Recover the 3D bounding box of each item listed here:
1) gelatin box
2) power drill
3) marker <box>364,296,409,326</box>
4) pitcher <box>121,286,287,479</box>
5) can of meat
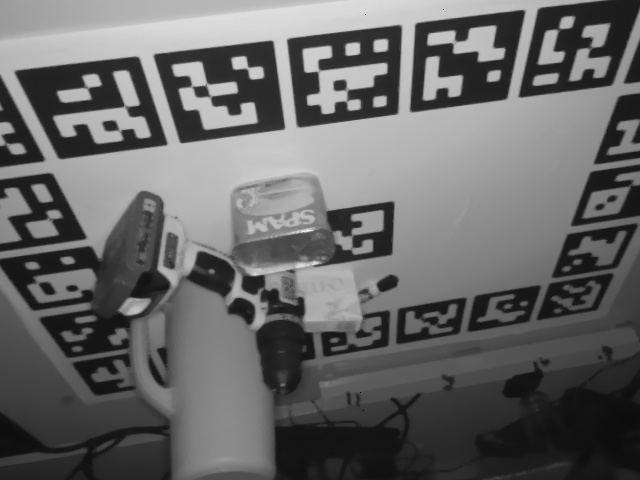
[{"bbox_3d":[0.008,0.091,0.850,0.090,0.073,0.030,1,132,-11],"label":"gelatin box"},{"bbox_3d":[-0.085,0.076,0.733,0.189,0.186,0.056,23,125,-23],"label":"power drill"},{"bbox_3d":[0.061,0.104,0.910,0.120,0.020,0.020,-27,134,14],"label":"marker"},{"bbox_3d":[-0.125,0.169,0.788,0.191,0.243,0.131,12,129,-32],"label":"pitcher"},{"bbox_3d":[-0.027,-0.010,0.724,0.102,0.084,0.057,-8,139,-3],"label":"can of meat"}]
